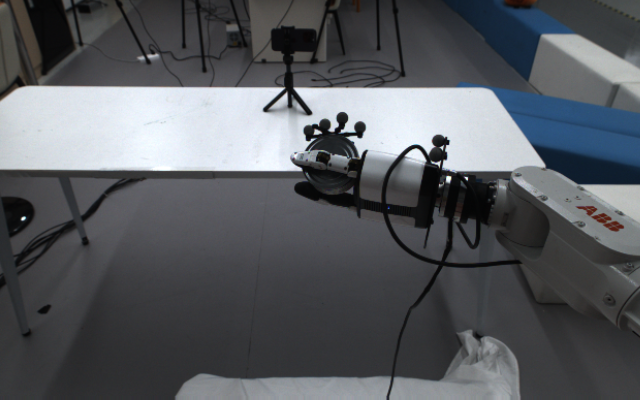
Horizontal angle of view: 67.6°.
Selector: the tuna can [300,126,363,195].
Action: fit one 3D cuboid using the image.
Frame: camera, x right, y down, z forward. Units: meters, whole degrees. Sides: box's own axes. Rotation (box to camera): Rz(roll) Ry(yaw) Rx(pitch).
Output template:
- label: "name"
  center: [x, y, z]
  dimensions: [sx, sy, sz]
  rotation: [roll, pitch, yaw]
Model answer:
- label: "tuna can"
  center: [0.017, -0.053, 0.716]
  dimensions: [0.085, 0.034, 0.085]
  rotation: [-5, 70, 14]
